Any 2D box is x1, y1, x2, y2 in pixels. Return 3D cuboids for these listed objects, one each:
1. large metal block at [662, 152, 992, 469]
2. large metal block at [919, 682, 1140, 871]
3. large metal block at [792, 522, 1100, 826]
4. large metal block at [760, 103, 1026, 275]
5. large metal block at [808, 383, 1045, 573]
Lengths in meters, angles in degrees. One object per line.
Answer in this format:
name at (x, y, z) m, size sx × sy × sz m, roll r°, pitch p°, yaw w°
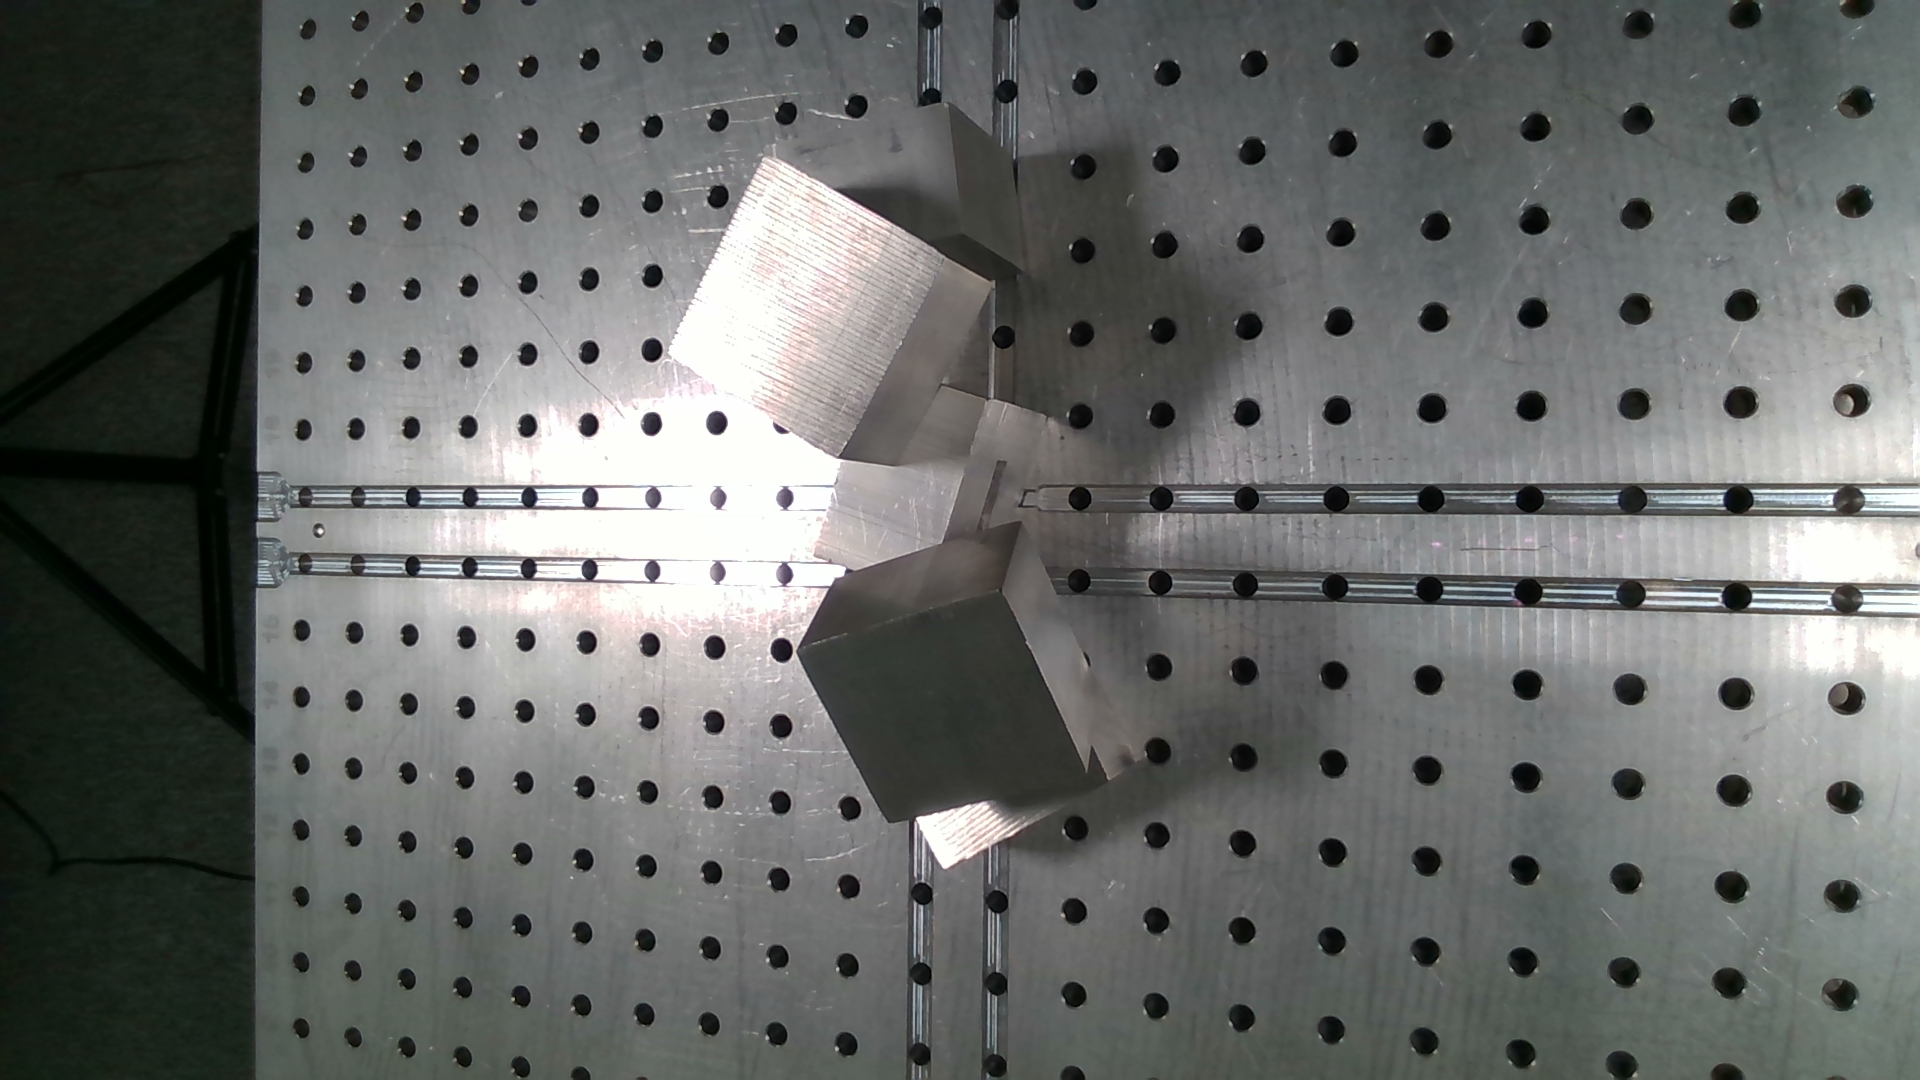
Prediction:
large metal block at (-0.048, -0.082, 0.505) m, size 0.080 × 0.050 × 0.080 m, roll 33°, pitch 101°, yaw 17°
large metal block at (0.015, 0.078, 0.570) m, size 0.080 × 0.050 × 0.080 m, roll -32°, pitch 80°, yaw 18°
large metal block at (-0.002, 0.050, 0.503) m, size 0.080 × 0.050 × 0.080 m, roll -17°, pitch 113°, yaw 20°
large metal block at (-0.025, -0.135, 0.566) m, size 0.080 × 0.080 × 0.050 m, roll -7°, pitch 88°, yaw 20°
large metal block at (-0.011, -0.023, 0.562) m, size 0.050 × 0.080 × 0.080 m, roll 20°, pitch 97°, yaw 19°
